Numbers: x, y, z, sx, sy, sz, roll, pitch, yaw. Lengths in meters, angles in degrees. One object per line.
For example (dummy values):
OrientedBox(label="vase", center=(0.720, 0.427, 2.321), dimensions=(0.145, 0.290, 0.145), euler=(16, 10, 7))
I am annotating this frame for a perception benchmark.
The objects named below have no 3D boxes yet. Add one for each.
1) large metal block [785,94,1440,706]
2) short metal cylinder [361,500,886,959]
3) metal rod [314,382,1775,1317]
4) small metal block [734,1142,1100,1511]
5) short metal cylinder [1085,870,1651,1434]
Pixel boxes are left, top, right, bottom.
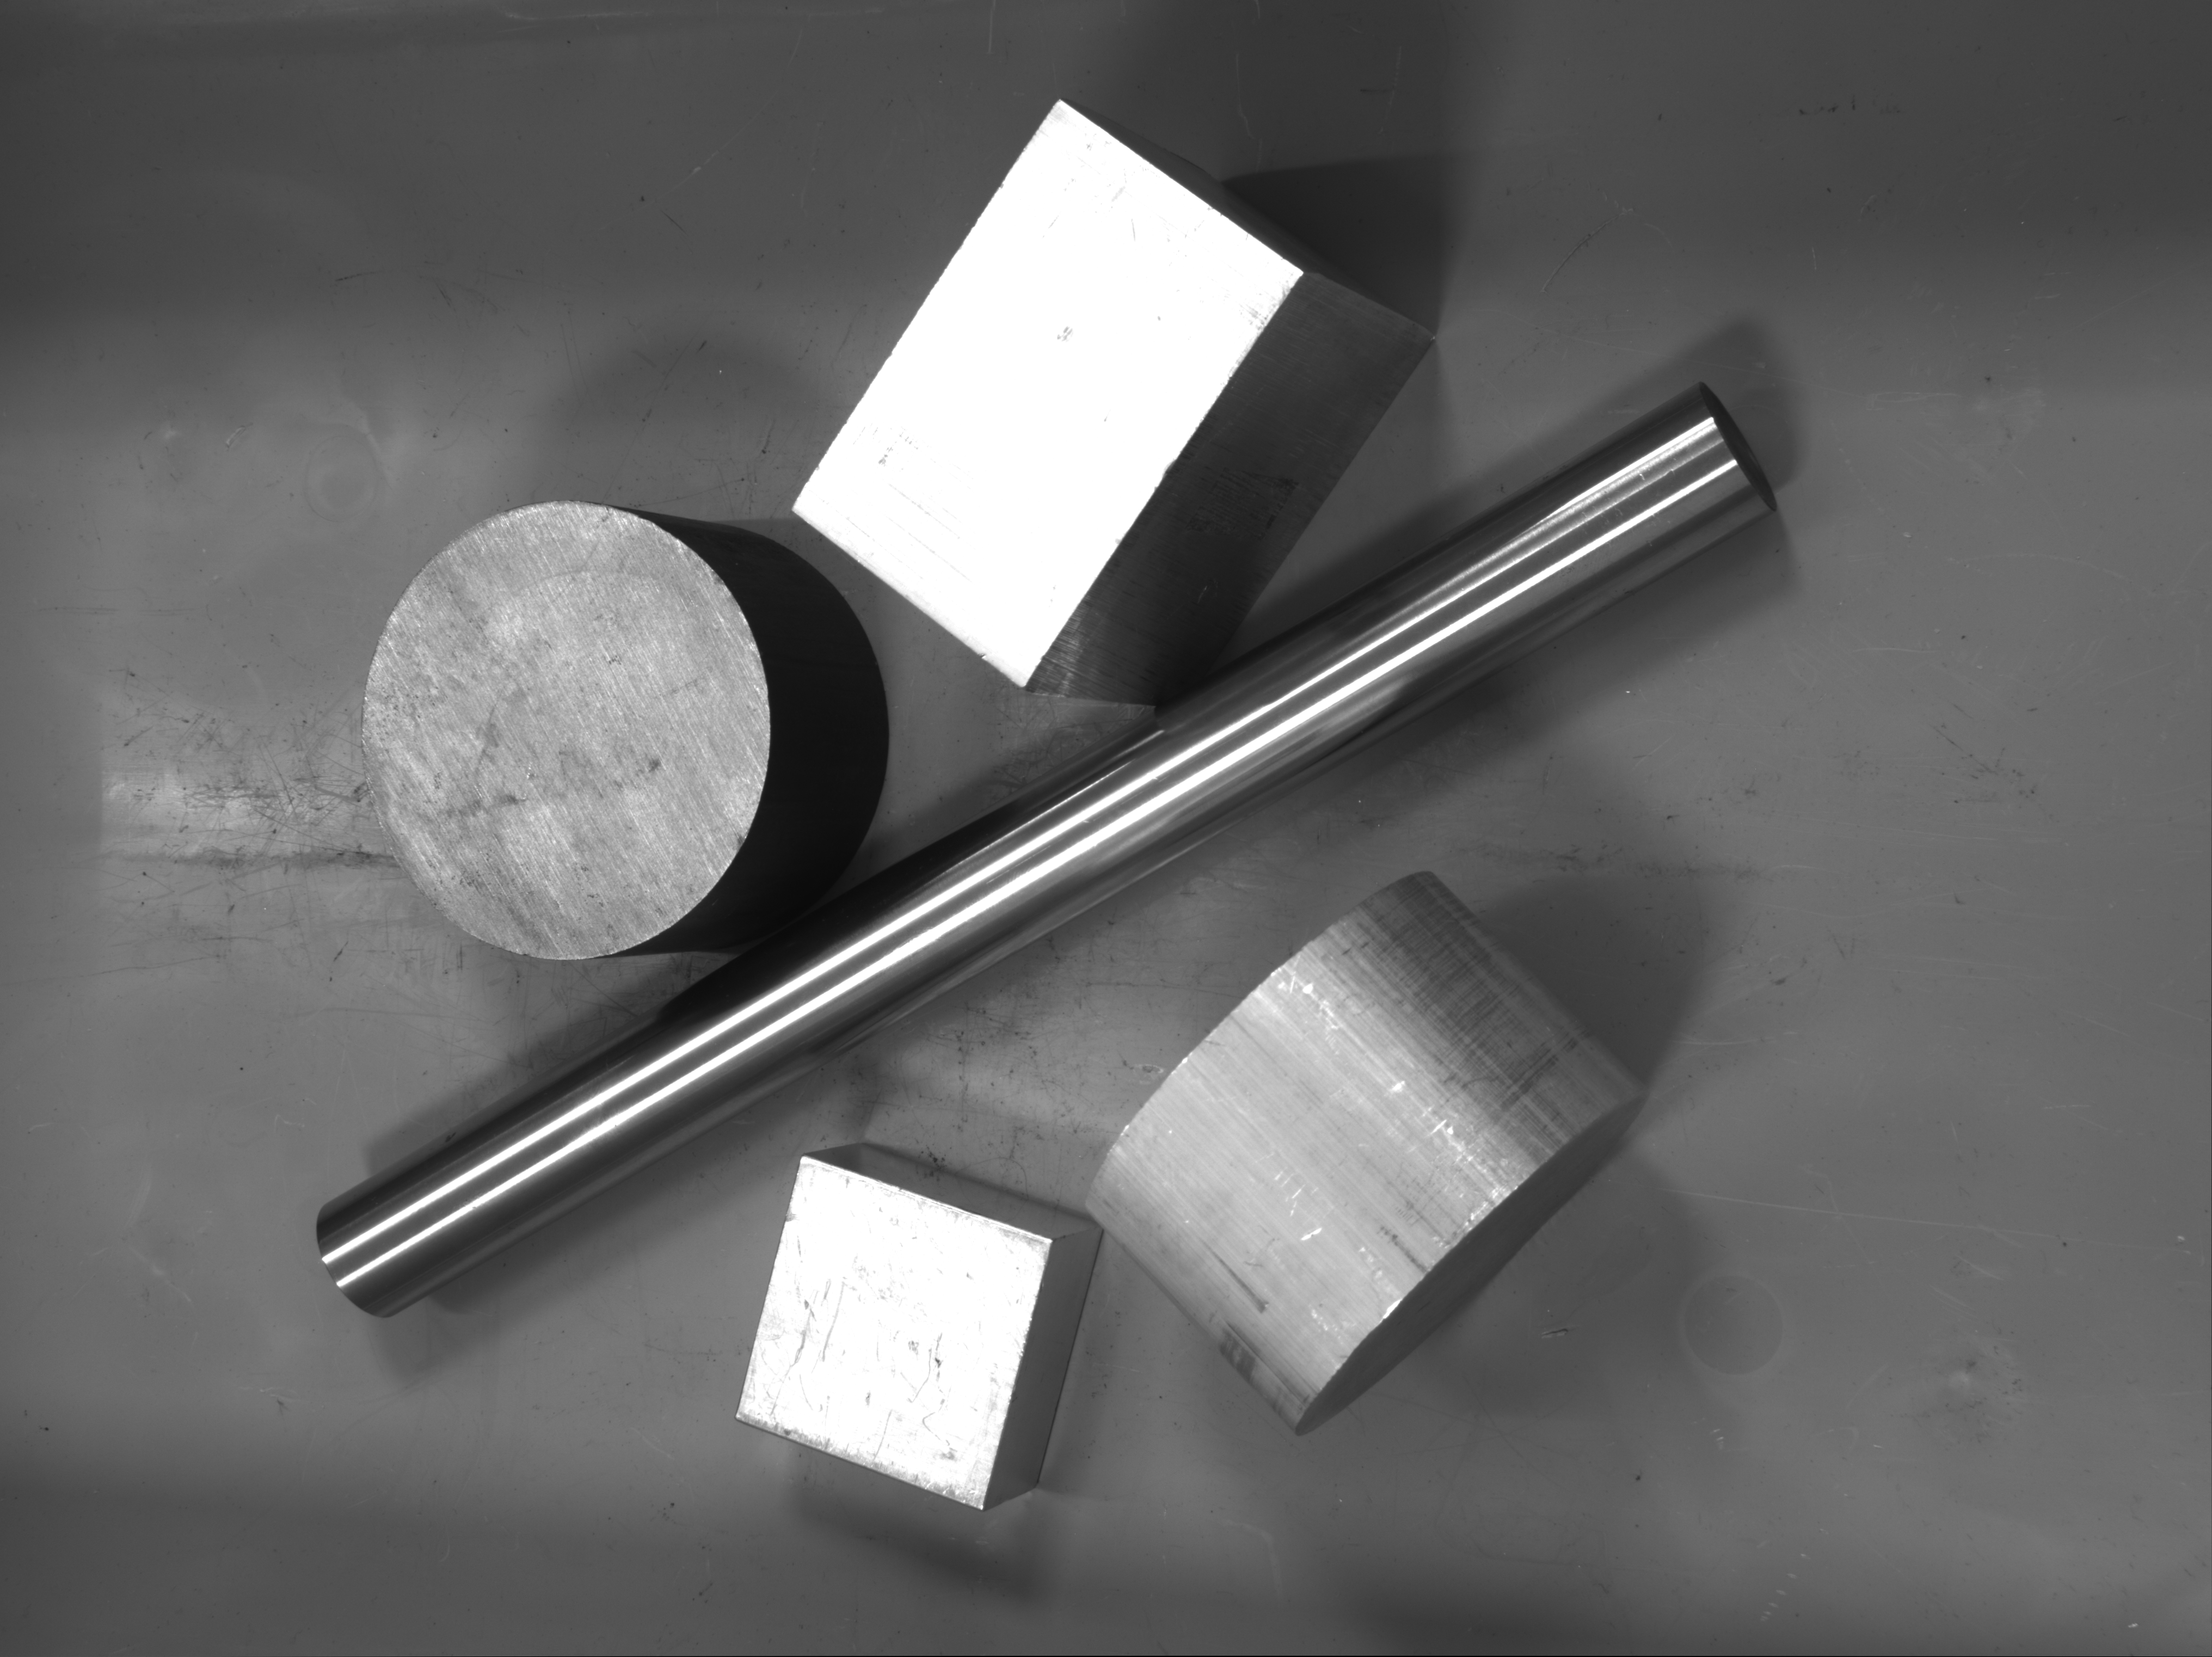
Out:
OrientedBox(label="large metal block", center=(0.003, -0.068, 0.616), dimensions=(0.050, 0.080, 0.080), euler=(38, 102, 16))
OrientedBox(label="short metal cylinder", center=(-0.087, -0.017, 0.664), dimensions=(0.080, 0.050, 0.080), euler=(0, 90, 20))
OrientedBox(label="metal rod", center=(-0.019, 0.009, 0.653), dimensions=(0.300, 0.025, 0.025), euler=(-30, 80, 17))
OrientedBox(label="small metal block", center=(-0.033, 0.088, 0.658), dimensions=(0.050, 0.025, 0.050), euler=(16, 95, 19))
OrientedBox(label="short metal cylinder", center=(0.043, 0.053, 0.601), dimensions=(0.050, 0.080, 0.080), euler=(45, 104, 14))
